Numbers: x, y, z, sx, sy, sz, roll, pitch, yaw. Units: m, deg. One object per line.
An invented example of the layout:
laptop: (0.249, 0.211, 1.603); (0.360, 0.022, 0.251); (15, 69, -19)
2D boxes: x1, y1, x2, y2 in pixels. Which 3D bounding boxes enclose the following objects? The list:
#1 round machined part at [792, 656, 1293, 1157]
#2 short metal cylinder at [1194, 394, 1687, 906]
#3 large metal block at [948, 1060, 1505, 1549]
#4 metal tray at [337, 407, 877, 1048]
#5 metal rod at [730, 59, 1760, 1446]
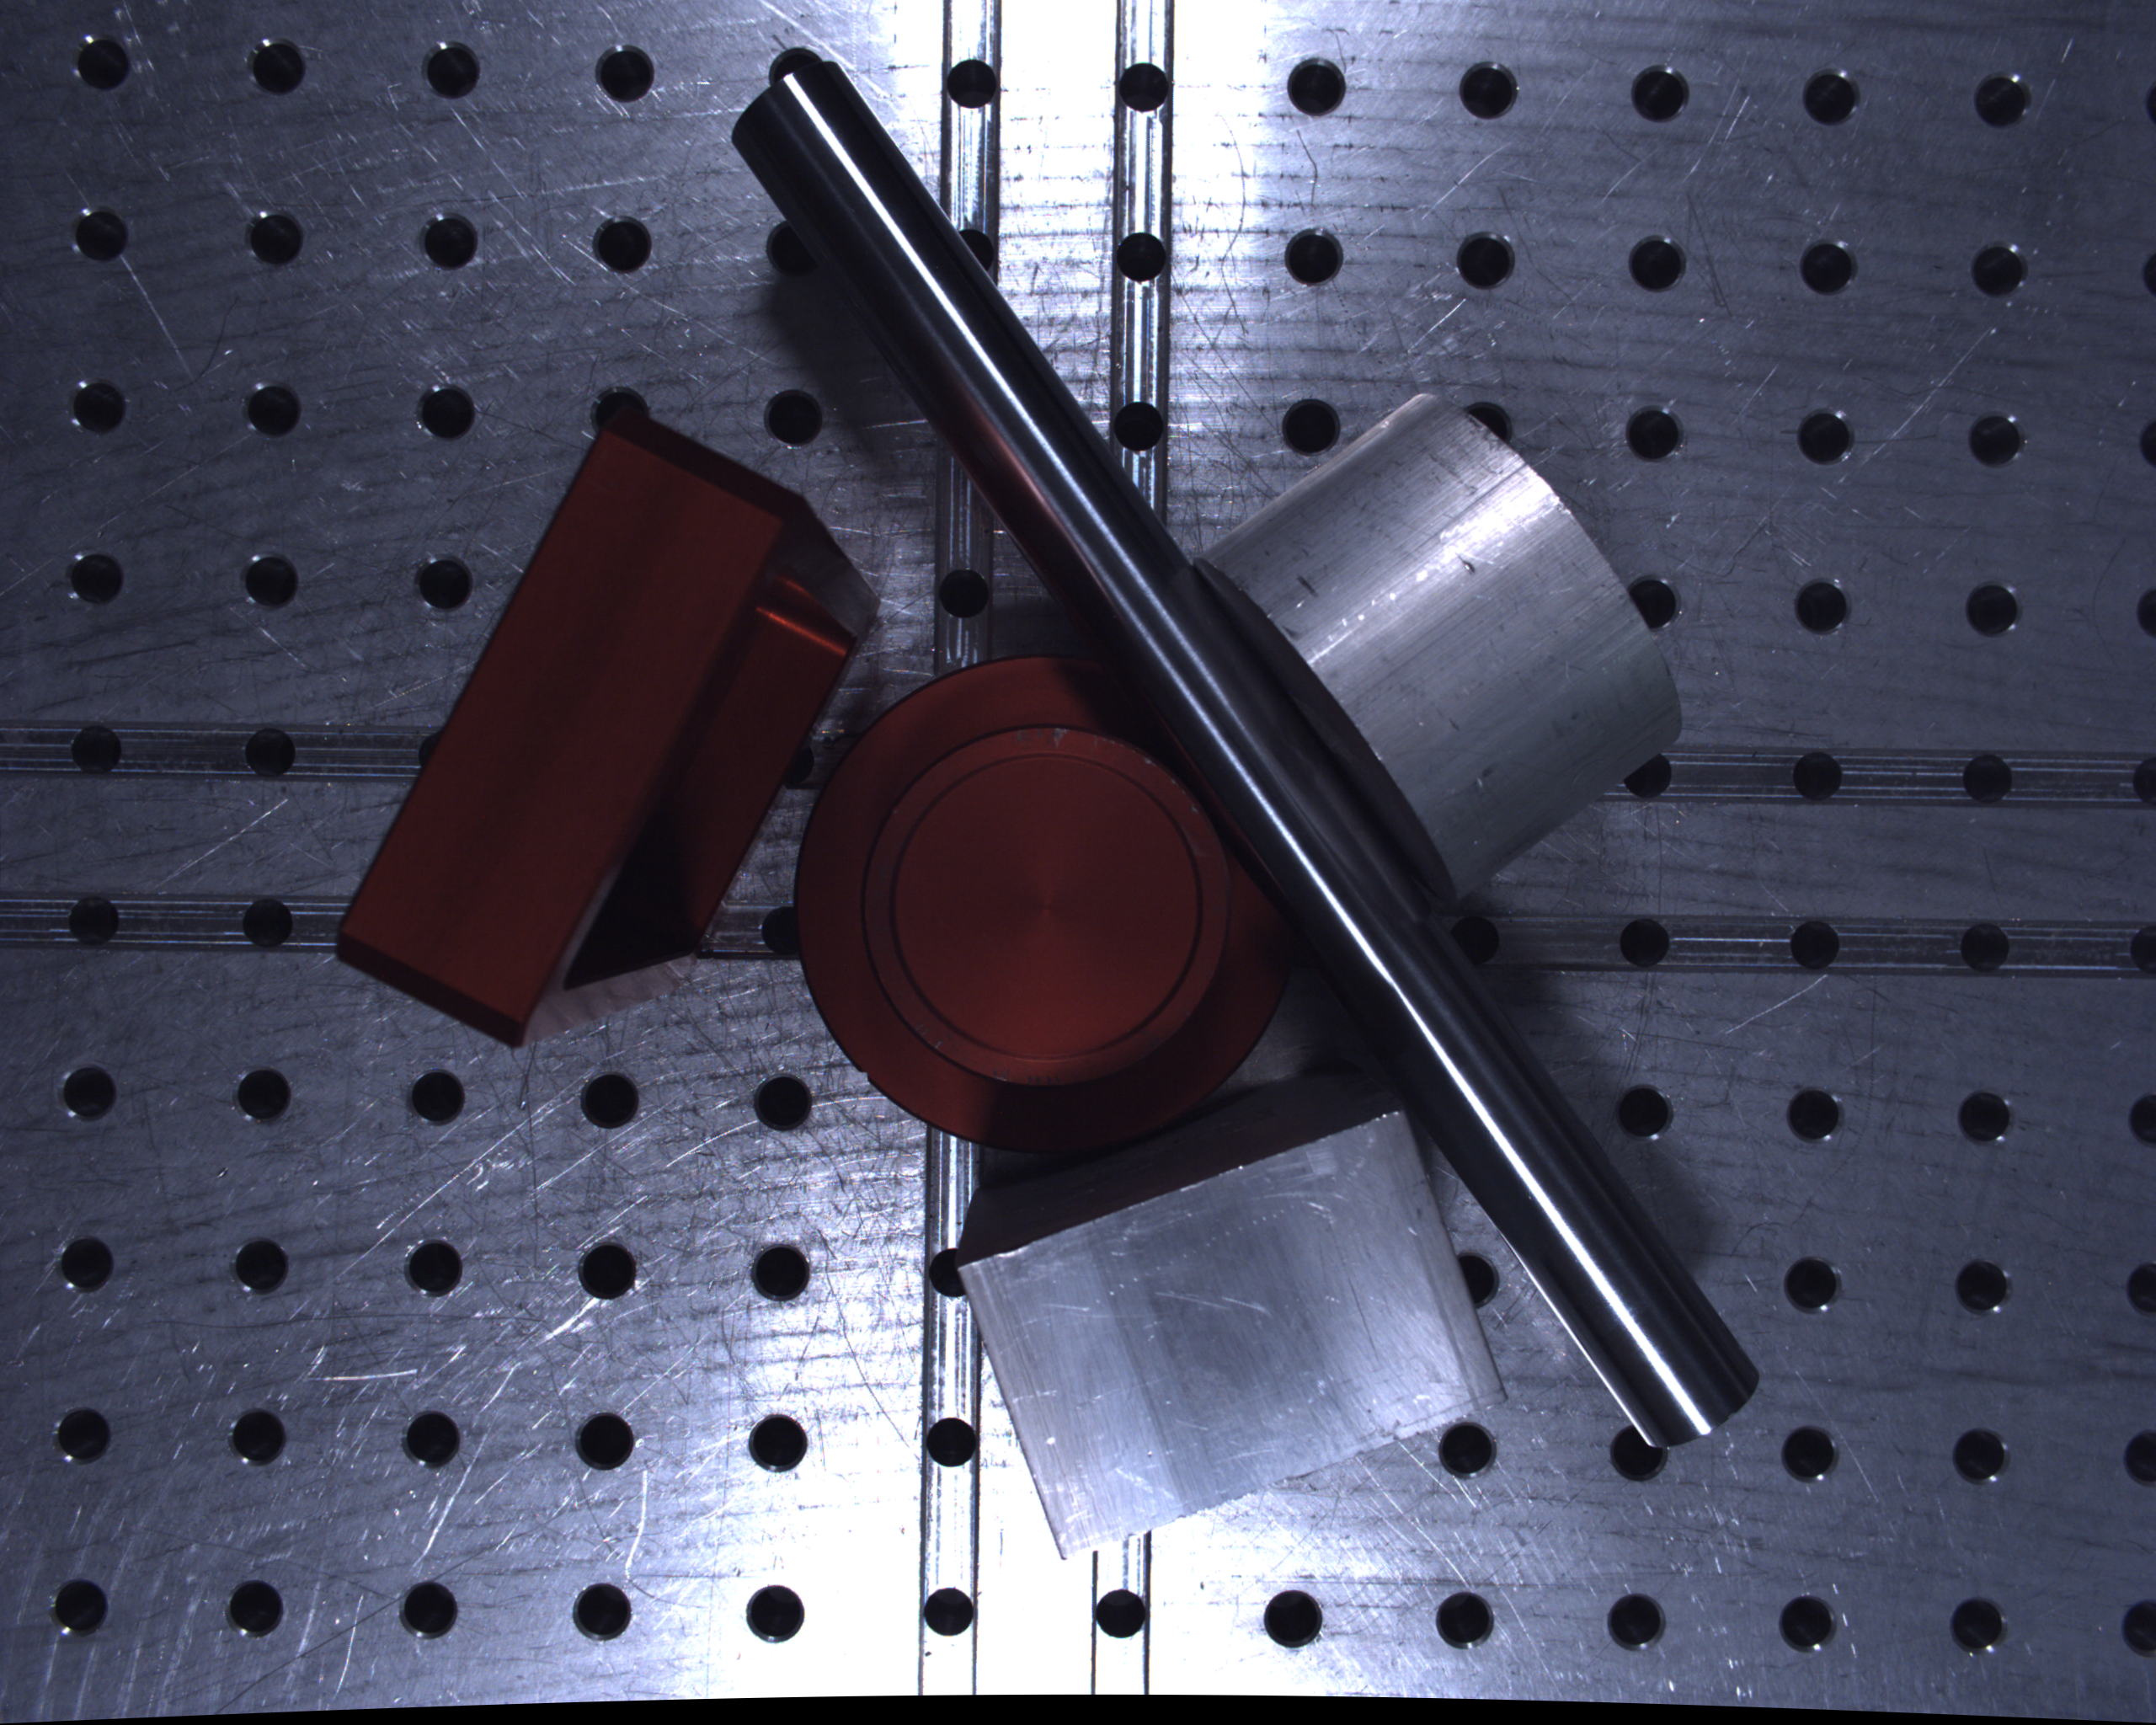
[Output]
round machined part: (-0.006, 0.009, 0.404); (0.099, 0.042, 0.097); (0, 90, -1)
short metal cylinder: (0.066, -0.039, 0.386); (0.050, 0.080, 0.080); (-37, 90, 0)
large metal block: (0.024, 0.077, 0.386); (0.080, 0.080, 0.050); (-19, 90, 0)
metal tray: (-0.073, -0.020, 0.360); (0.030, 0.130, 0.090); (27, 90, 0)
metal rod: (0.032, -0.020, 0.393); (0.025, 0.025, 0.299); (-35, 90, 0)
